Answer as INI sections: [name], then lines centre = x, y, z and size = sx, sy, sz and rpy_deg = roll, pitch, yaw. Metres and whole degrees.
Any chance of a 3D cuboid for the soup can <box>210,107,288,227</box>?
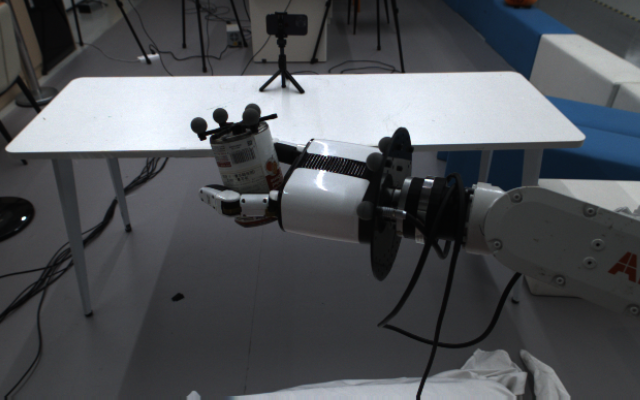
[soup can]
centre = -0.074, -0.028, 0.540
size = 0.067, 0.101, 0.067
rpy_deg = -13, 19, 5
